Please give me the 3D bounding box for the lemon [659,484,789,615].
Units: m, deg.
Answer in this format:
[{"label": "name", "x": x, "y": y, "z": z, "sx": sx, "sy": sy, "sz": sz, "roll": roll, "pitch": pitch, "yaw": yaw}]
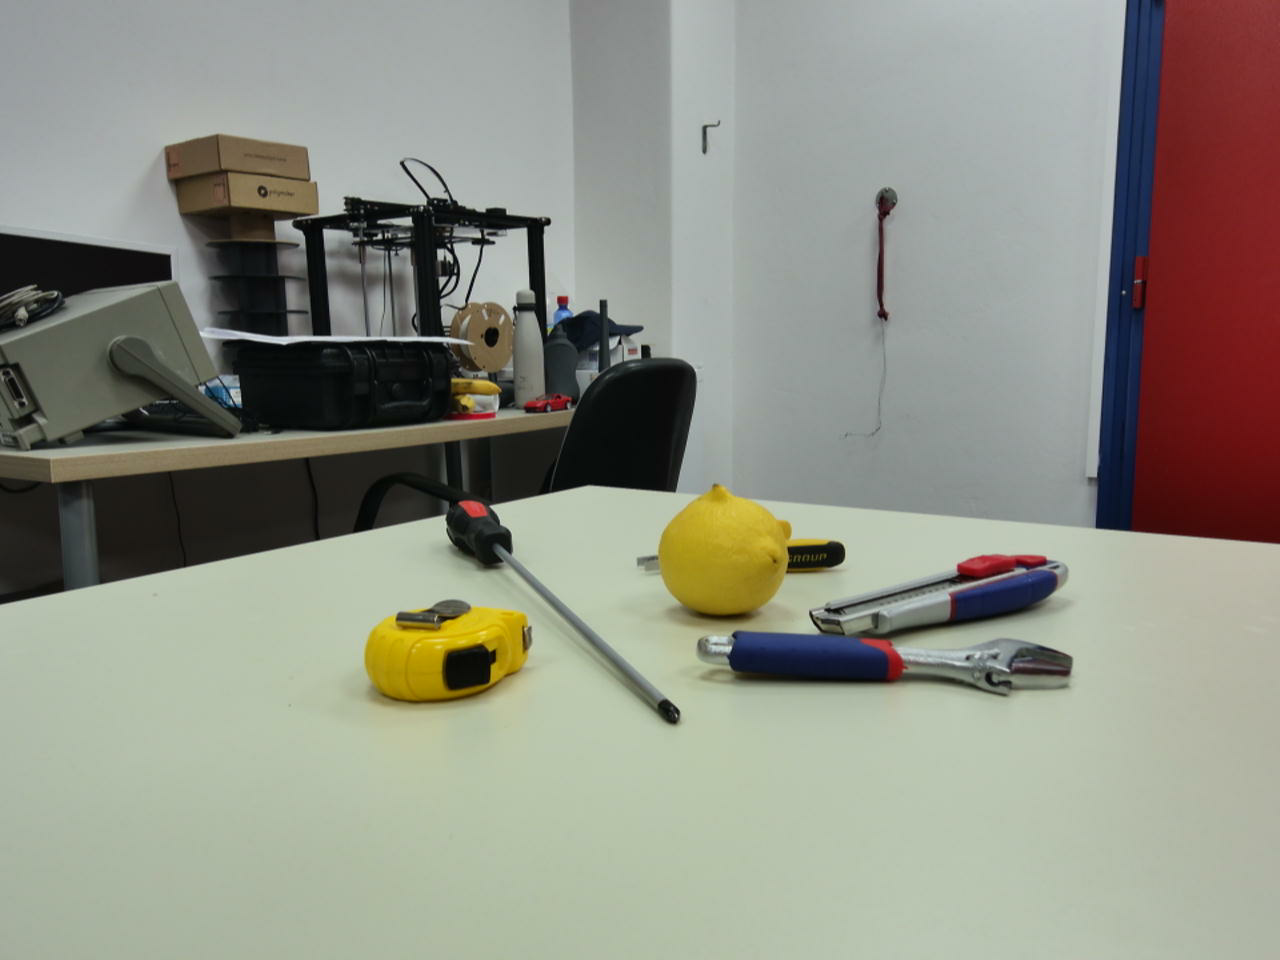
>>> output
[{"label": "lemon", "x": 0.045, "y": 0.038, "z": 0.550, "sx": 0.070, "sy": 0.071, "sz": 0.071, "roll": 0, "pitch": 6, "yaw": 2}]
